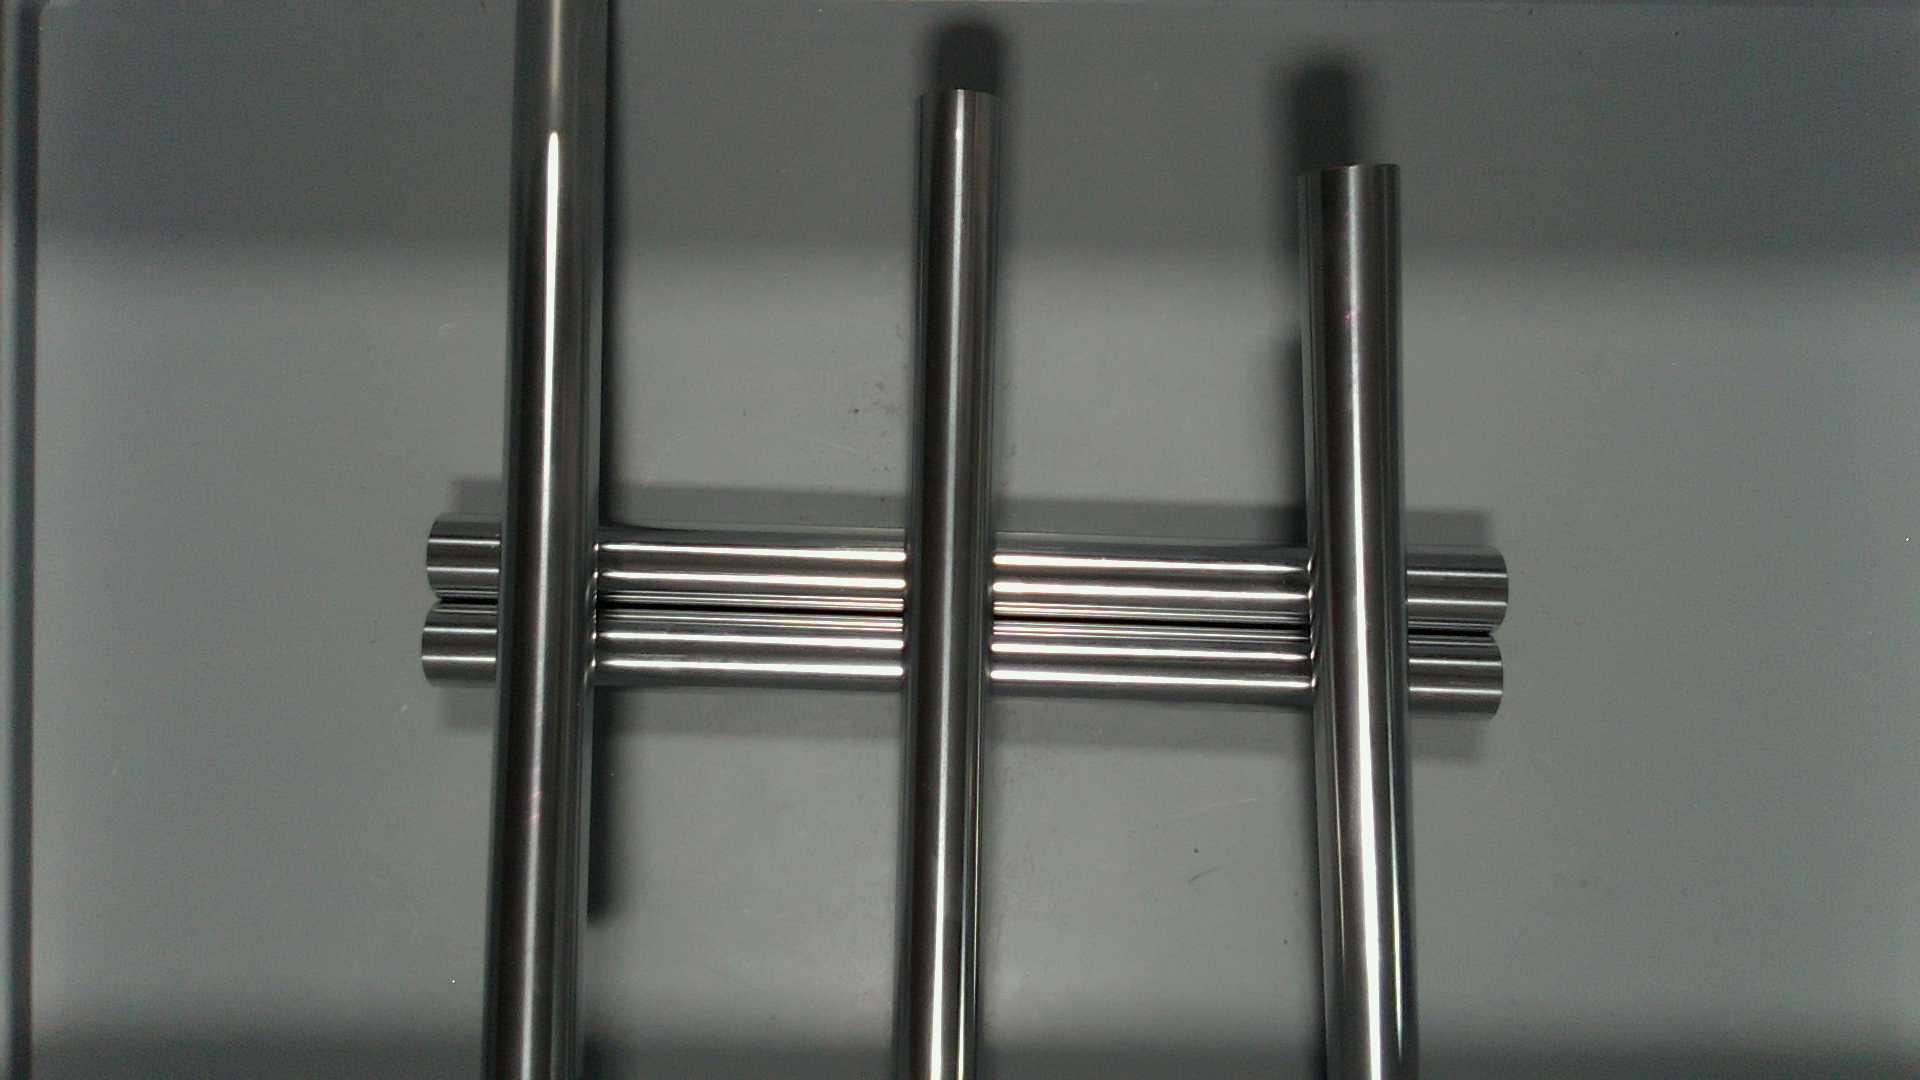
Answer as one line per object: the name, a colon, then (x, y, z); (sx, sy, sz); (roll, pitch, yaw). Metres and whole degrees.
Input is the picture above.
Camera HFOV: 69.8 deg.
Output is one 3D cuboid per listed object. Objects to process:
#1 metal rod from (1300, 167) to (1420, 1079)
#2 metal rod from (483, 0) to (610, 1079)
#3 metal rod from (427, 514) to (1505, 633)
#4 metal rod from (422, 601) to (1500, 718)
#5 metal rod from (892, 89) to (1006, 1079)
metal rod: (0.110, 0.055, 0.373); (0.025, 0.025, 0.300); (-4, 99, 0)
metal rod: (-0.110, -0.011, 0.370); (0.025, 0.025, 0.300); (-1, 82, 0)
metal rod: (0.002, 0.010, 0.395); (0.300, 0.025, 0.025); (2, 90, 0)
metal rod: (0.001, 0.034, 0.395); (0.300, 0.025, 0.025); (2, 90, 0)
metal rod: (-0.003, 0.033, 0.370); (0.025, 0.025, 0.300); (1, 90, 0)
